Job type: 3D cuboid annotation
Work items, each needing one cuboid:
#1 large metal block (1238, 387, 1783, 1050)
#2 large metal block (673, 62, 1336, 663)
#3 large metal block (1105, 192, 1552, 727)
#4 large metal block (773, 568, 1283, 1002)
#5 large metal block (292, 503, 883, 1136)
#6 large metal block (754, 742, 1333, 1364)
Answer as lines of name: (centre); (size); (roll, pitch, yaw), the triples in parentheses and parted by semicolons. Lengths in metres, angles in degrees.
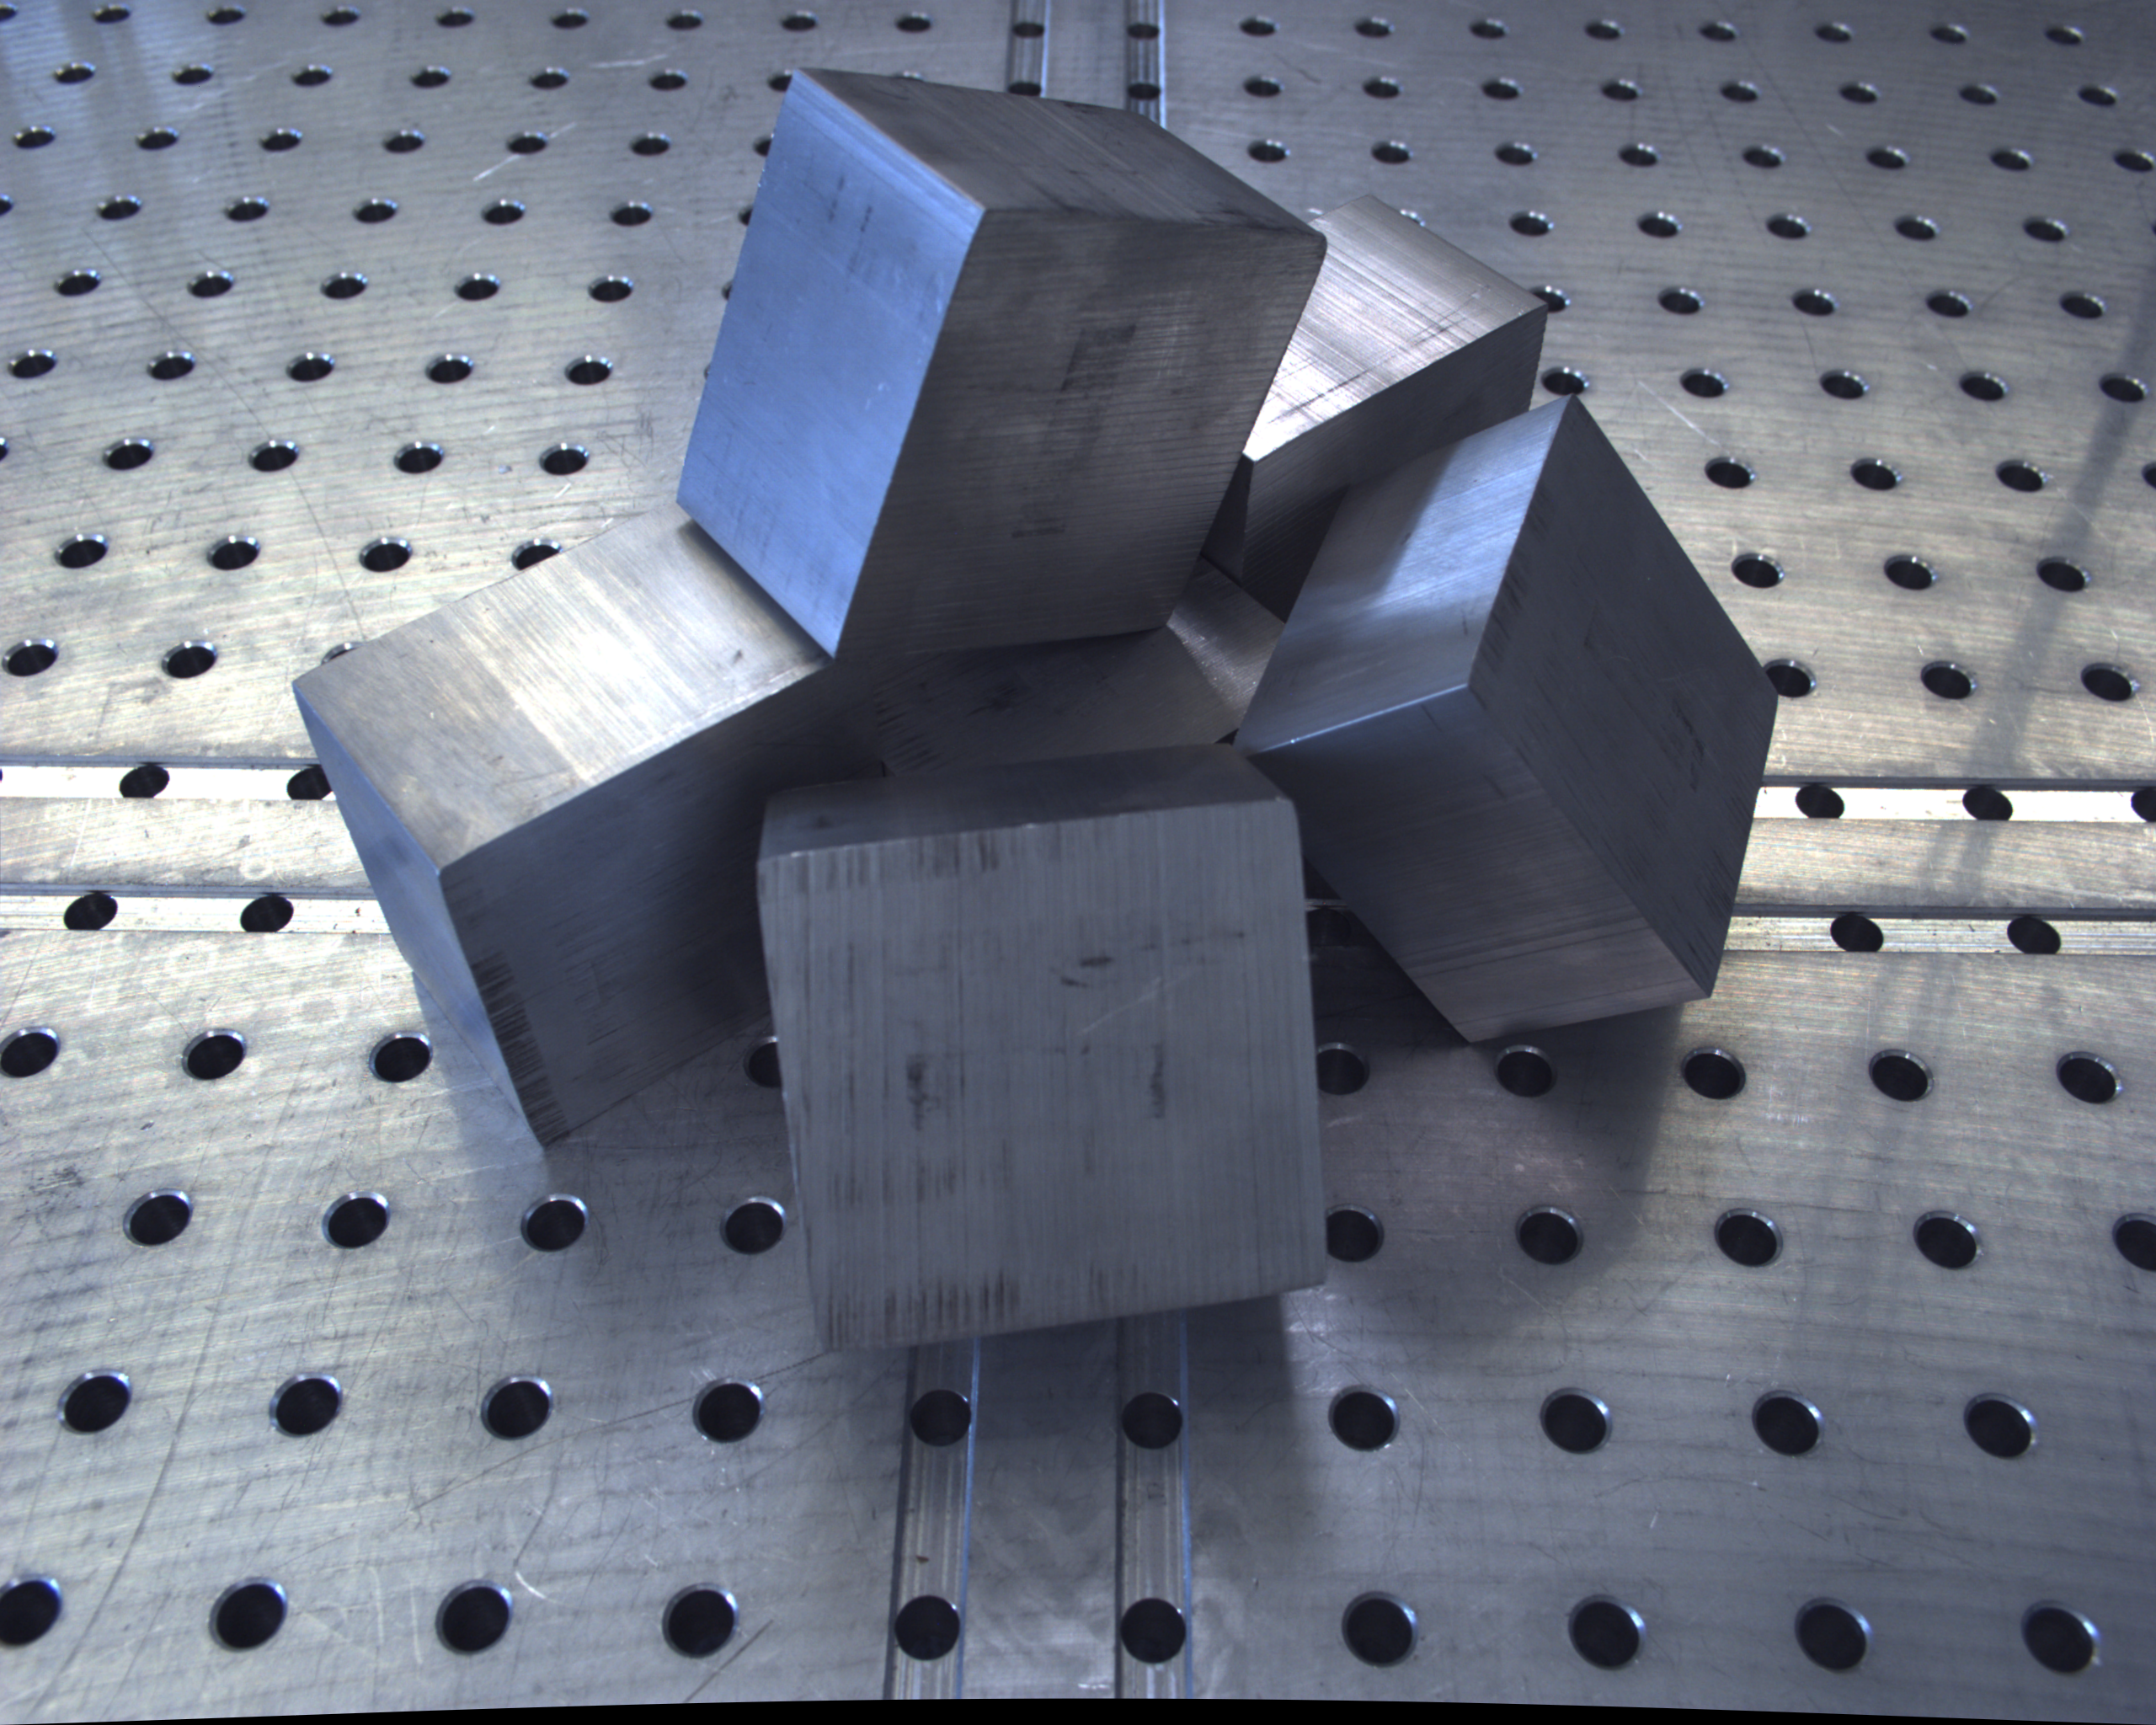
large metal block: (0.082, -0.025, 0.384); (0.050, 0.080, 0.080); (-17, 36, 42)
large metal block: (-0.014, -0.085, 0.362); (0.081, 0.079, 0.050); (-12, 46, -43)
large metal block: (0.047, -0.081, 0.441); (0.080, 0.080, 0.050); (-32, 57, -24)
large metal block: (-0.007, -0.024, 0.413); (0.080, 0.050, 0.080); (-32, 57, -24)
large metal block: (-0.082, -0.010, 0.378); (0.080, 0.080, 0.050); (-31, 57, -23)
large metal block: (-0.006, 0.028, 0.339); (0.080, 0.080, 0.050); (-7, 14, -6)
